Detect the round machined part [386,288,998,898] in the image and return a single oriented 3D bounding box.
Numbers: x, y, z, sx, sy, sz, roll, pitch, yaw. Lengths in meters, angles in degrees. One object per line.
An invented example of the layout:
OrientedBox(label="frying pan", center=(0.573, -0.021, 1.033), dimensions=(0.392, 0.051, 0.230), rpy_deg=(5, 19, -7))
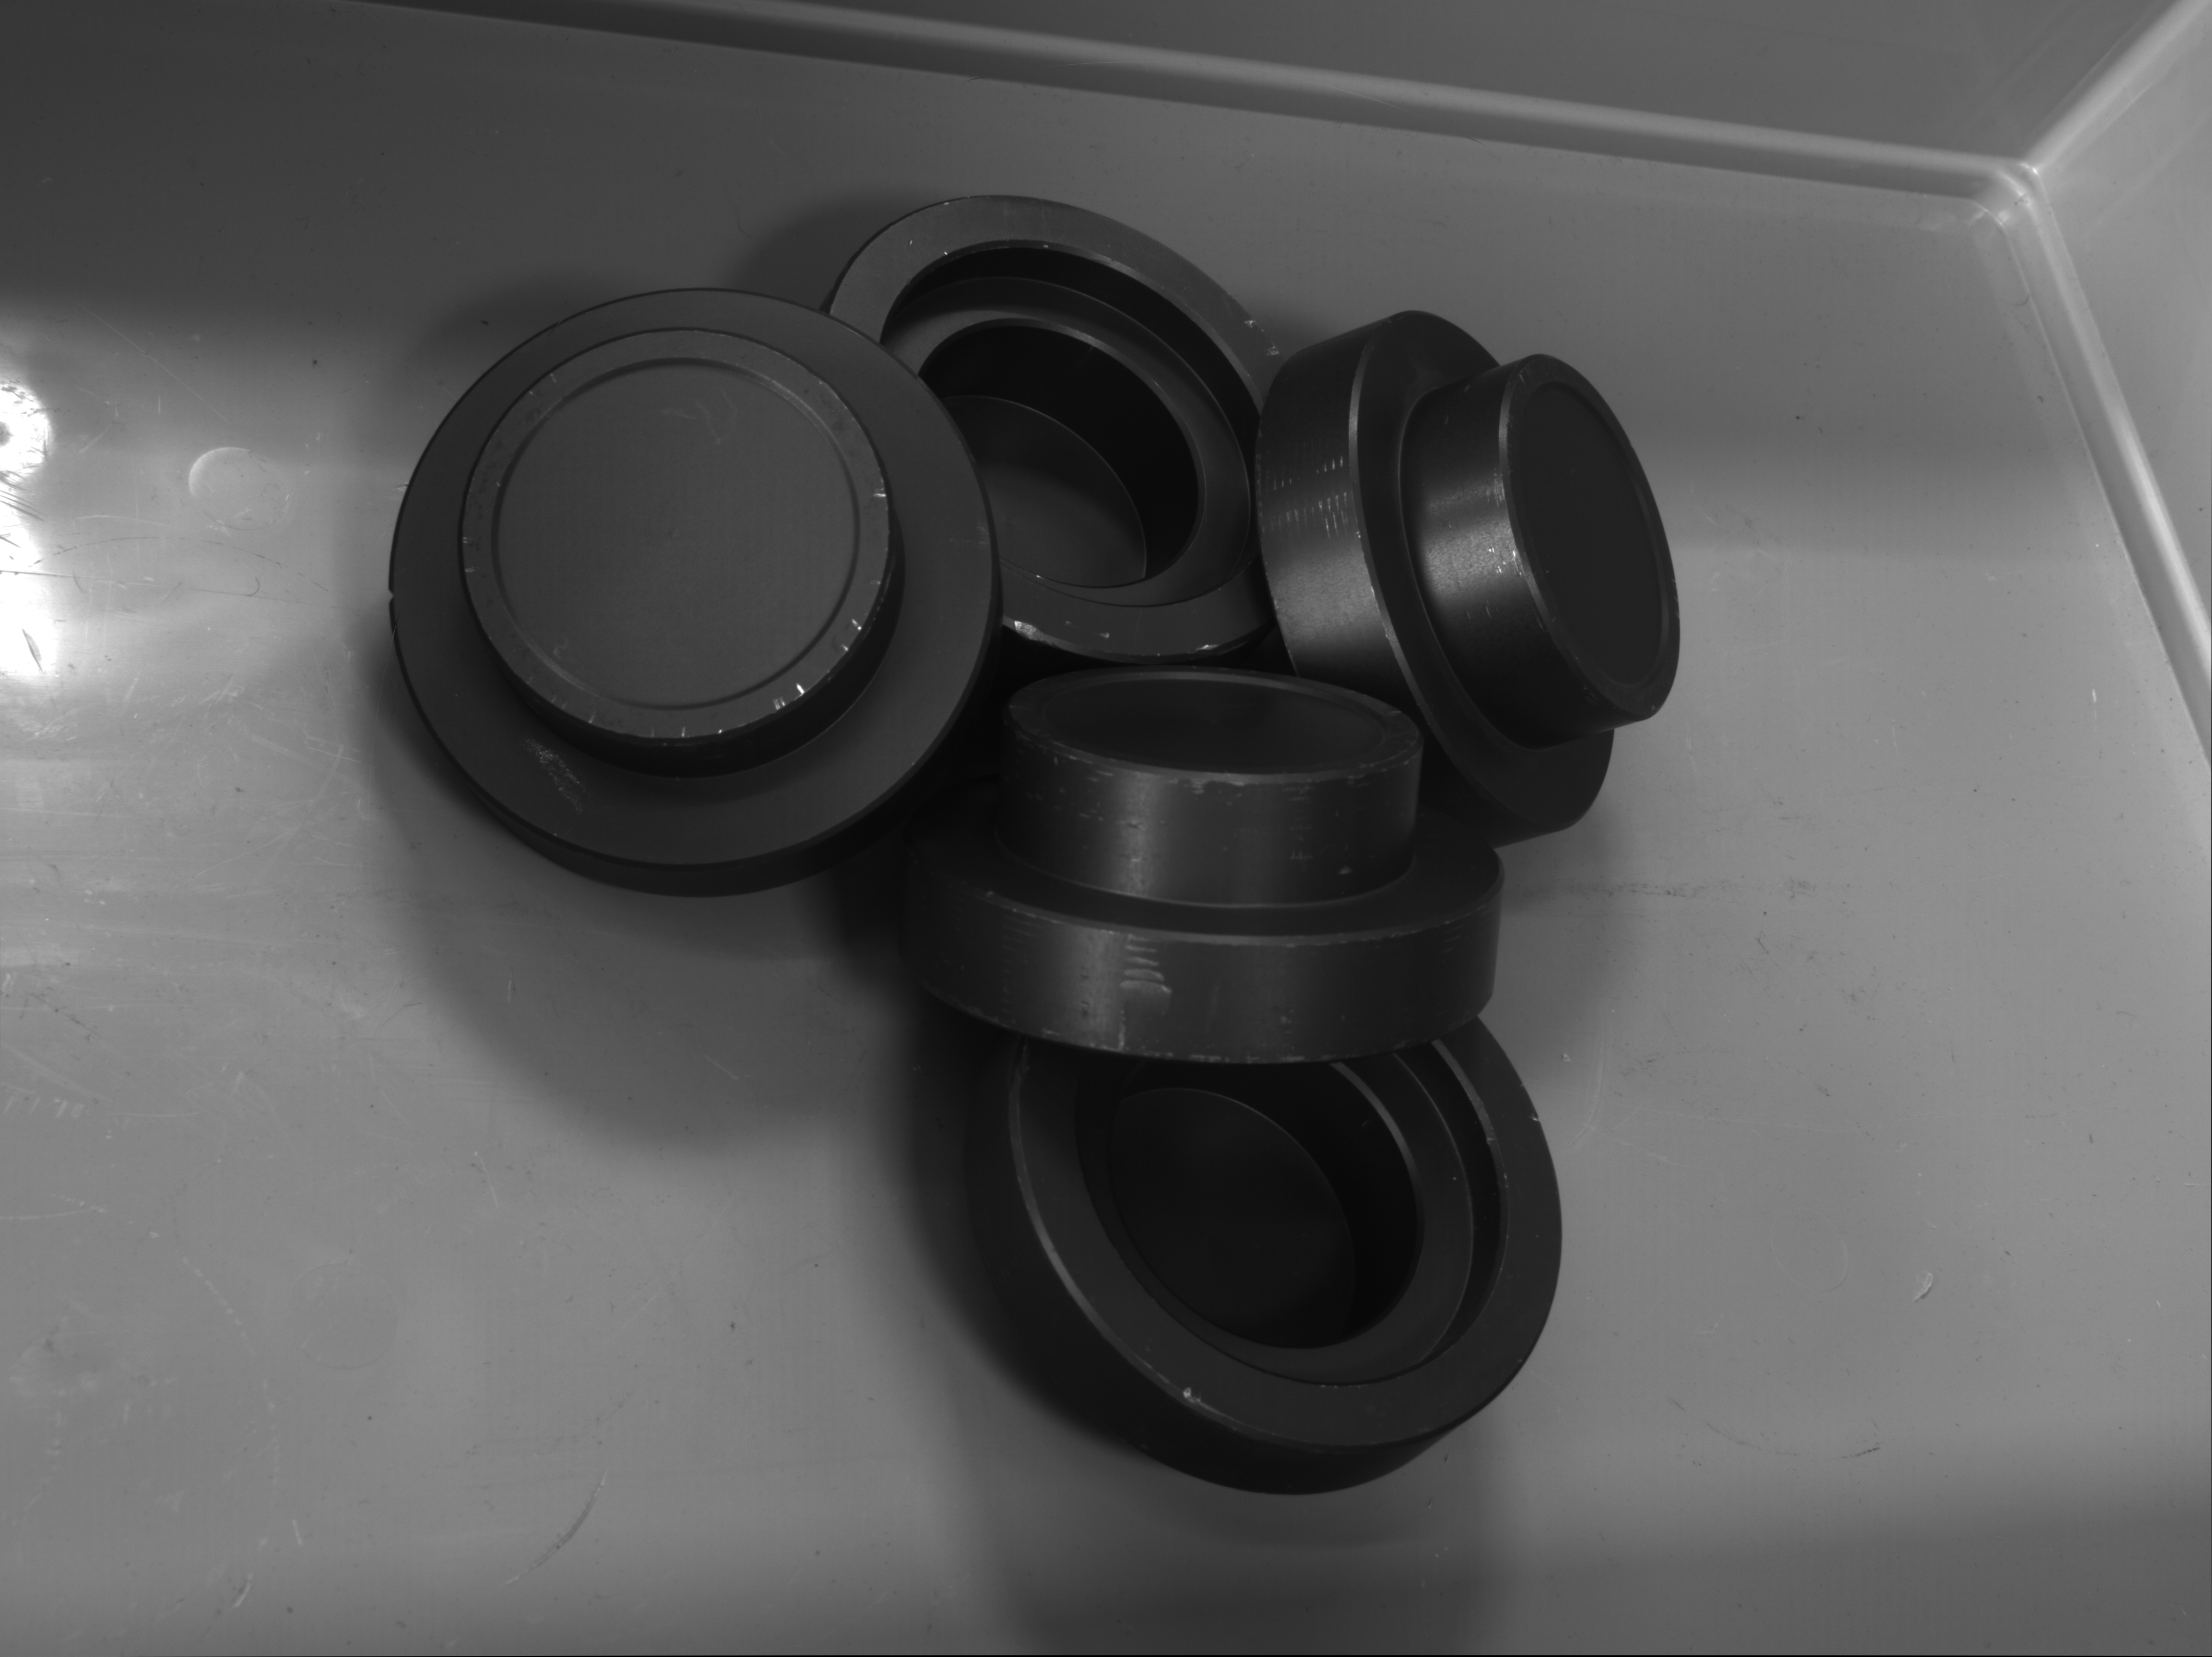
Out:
OrientedBox(label="round machined part", center=(-0.067, -0.041, 0.588), dimensions=(0.098, 0.042, 0.098), rpy_deg=(0, 76, 0))

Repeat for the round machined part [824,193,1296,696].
OrientedBox(label="round machined part", center=(-0.012, -0.062, 0.656), dimensions=(0.098, 0.042, 0.098), rpy_deg=(14, 56, -21))

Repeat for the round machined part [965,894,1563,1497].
OrientedBox(label="round machined part", center=(0.022, 0.063, 0.599), dimensions=(0.098, 0.042, 0.098), rpy_deg=(14, 56, -21))

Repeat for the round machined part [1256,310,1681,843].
OrientedBox(label="round machined part", center=(0.070, -0.047, 0.664), dimensions=(0.098, 0.042, 0.098), rpy_deg=(33, 49, -48))

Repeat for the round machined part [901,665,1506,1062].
OrientedBox(label="round machined part", center=(0.016, 0.002, 0.597), dimensions=(0.098, 0.098, 0.042), rpy_deg=(-6, 109, -31))
